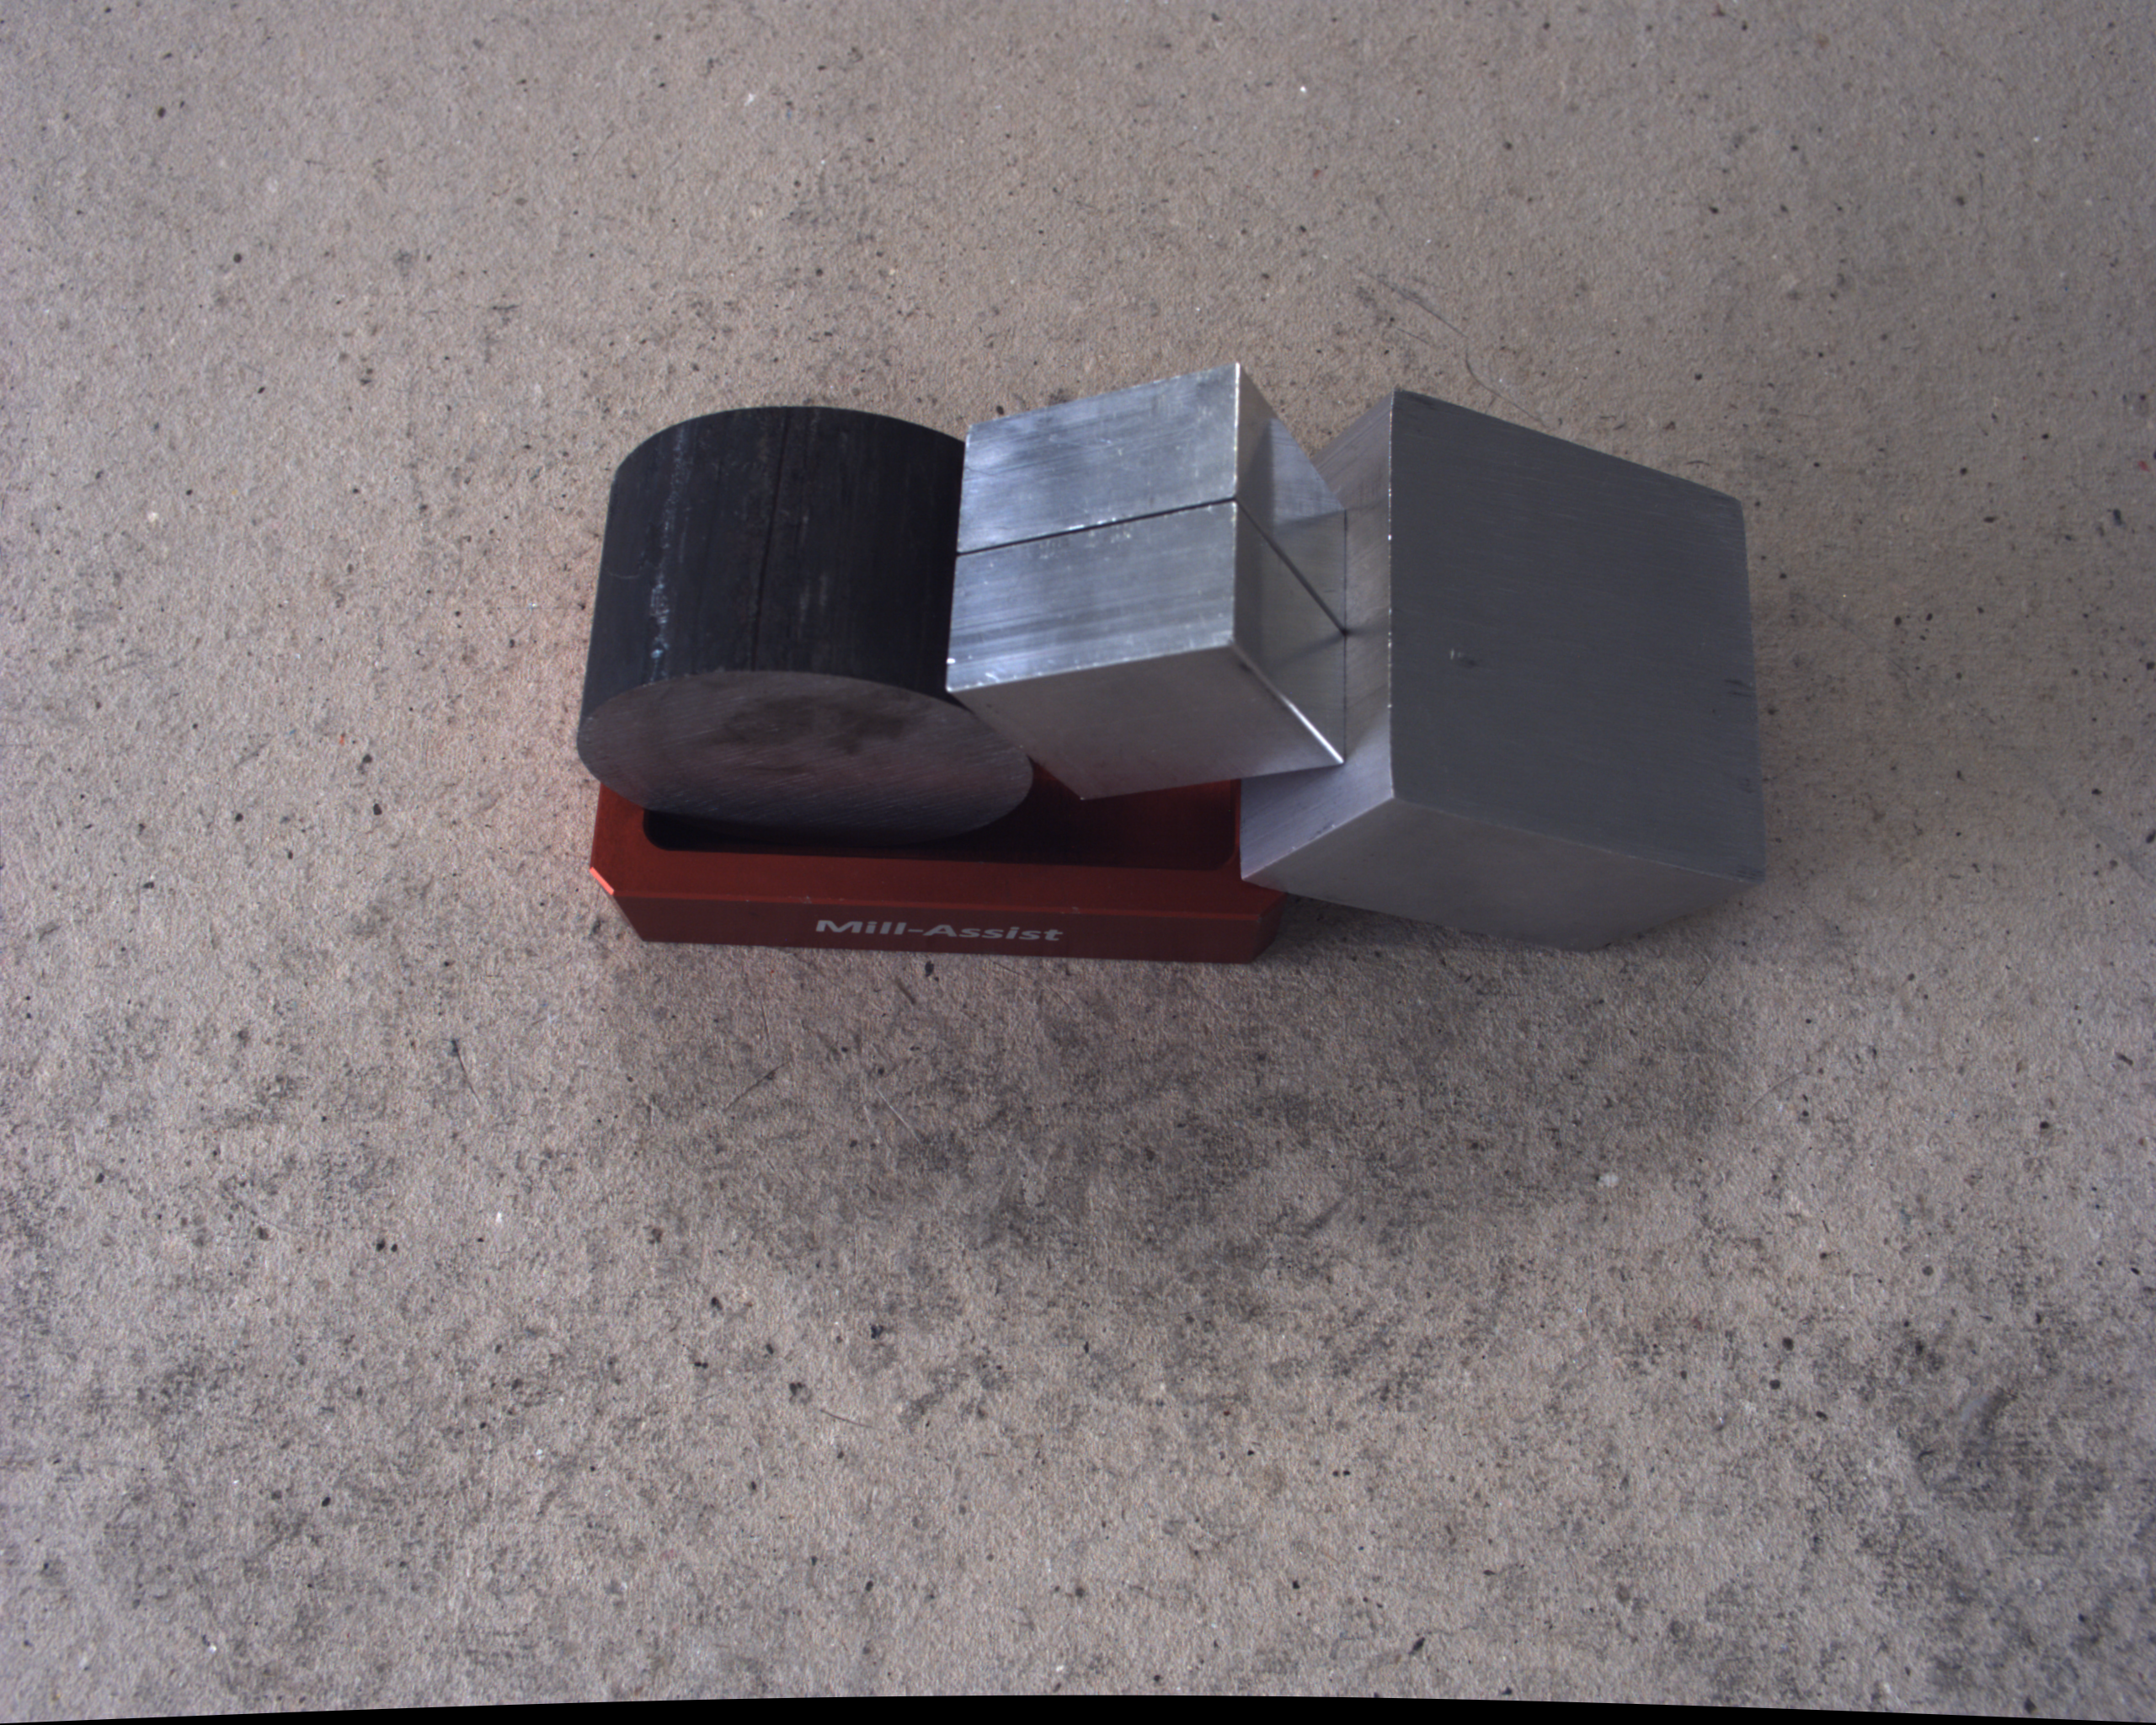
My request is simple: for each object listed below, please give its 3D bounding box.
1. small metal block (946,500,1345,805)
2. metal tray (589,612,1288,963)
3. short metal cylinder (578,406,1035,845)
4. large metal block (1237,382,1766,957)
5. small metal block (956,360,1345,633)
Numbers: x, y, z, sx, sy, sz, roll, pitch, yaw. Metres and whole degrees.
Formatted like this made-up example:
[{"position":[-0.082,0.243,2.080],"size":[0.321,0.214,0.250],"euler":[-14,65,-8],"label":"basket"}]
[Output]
[{"position":[0.013,-0.033,0.352],"size":[0.050,0.050,0.025],"euler":[-8,67,25],"label":"small metal block"},{"position":[-0.024,-0.029,0.417],"size":[0.131,0.030,0.090],"euler":[2,70,0],"label":"metal tray"},{"position":[-0.047,-0.040,0.381],"size":[0.081,0.080,0.050],"euler":[1,70,0],"label":"short metal cylinder"},{"position":[0.079,-0.033,0.393],"size":[0.081,0.050,0.080],"euler":[12,68,-23],"label":"large metal block"},{"position":[0.014,-0.058,0.362],"size":[0.050,0.050,0.025],"euler":[-8,67,25],"label":"small metal block"}]
